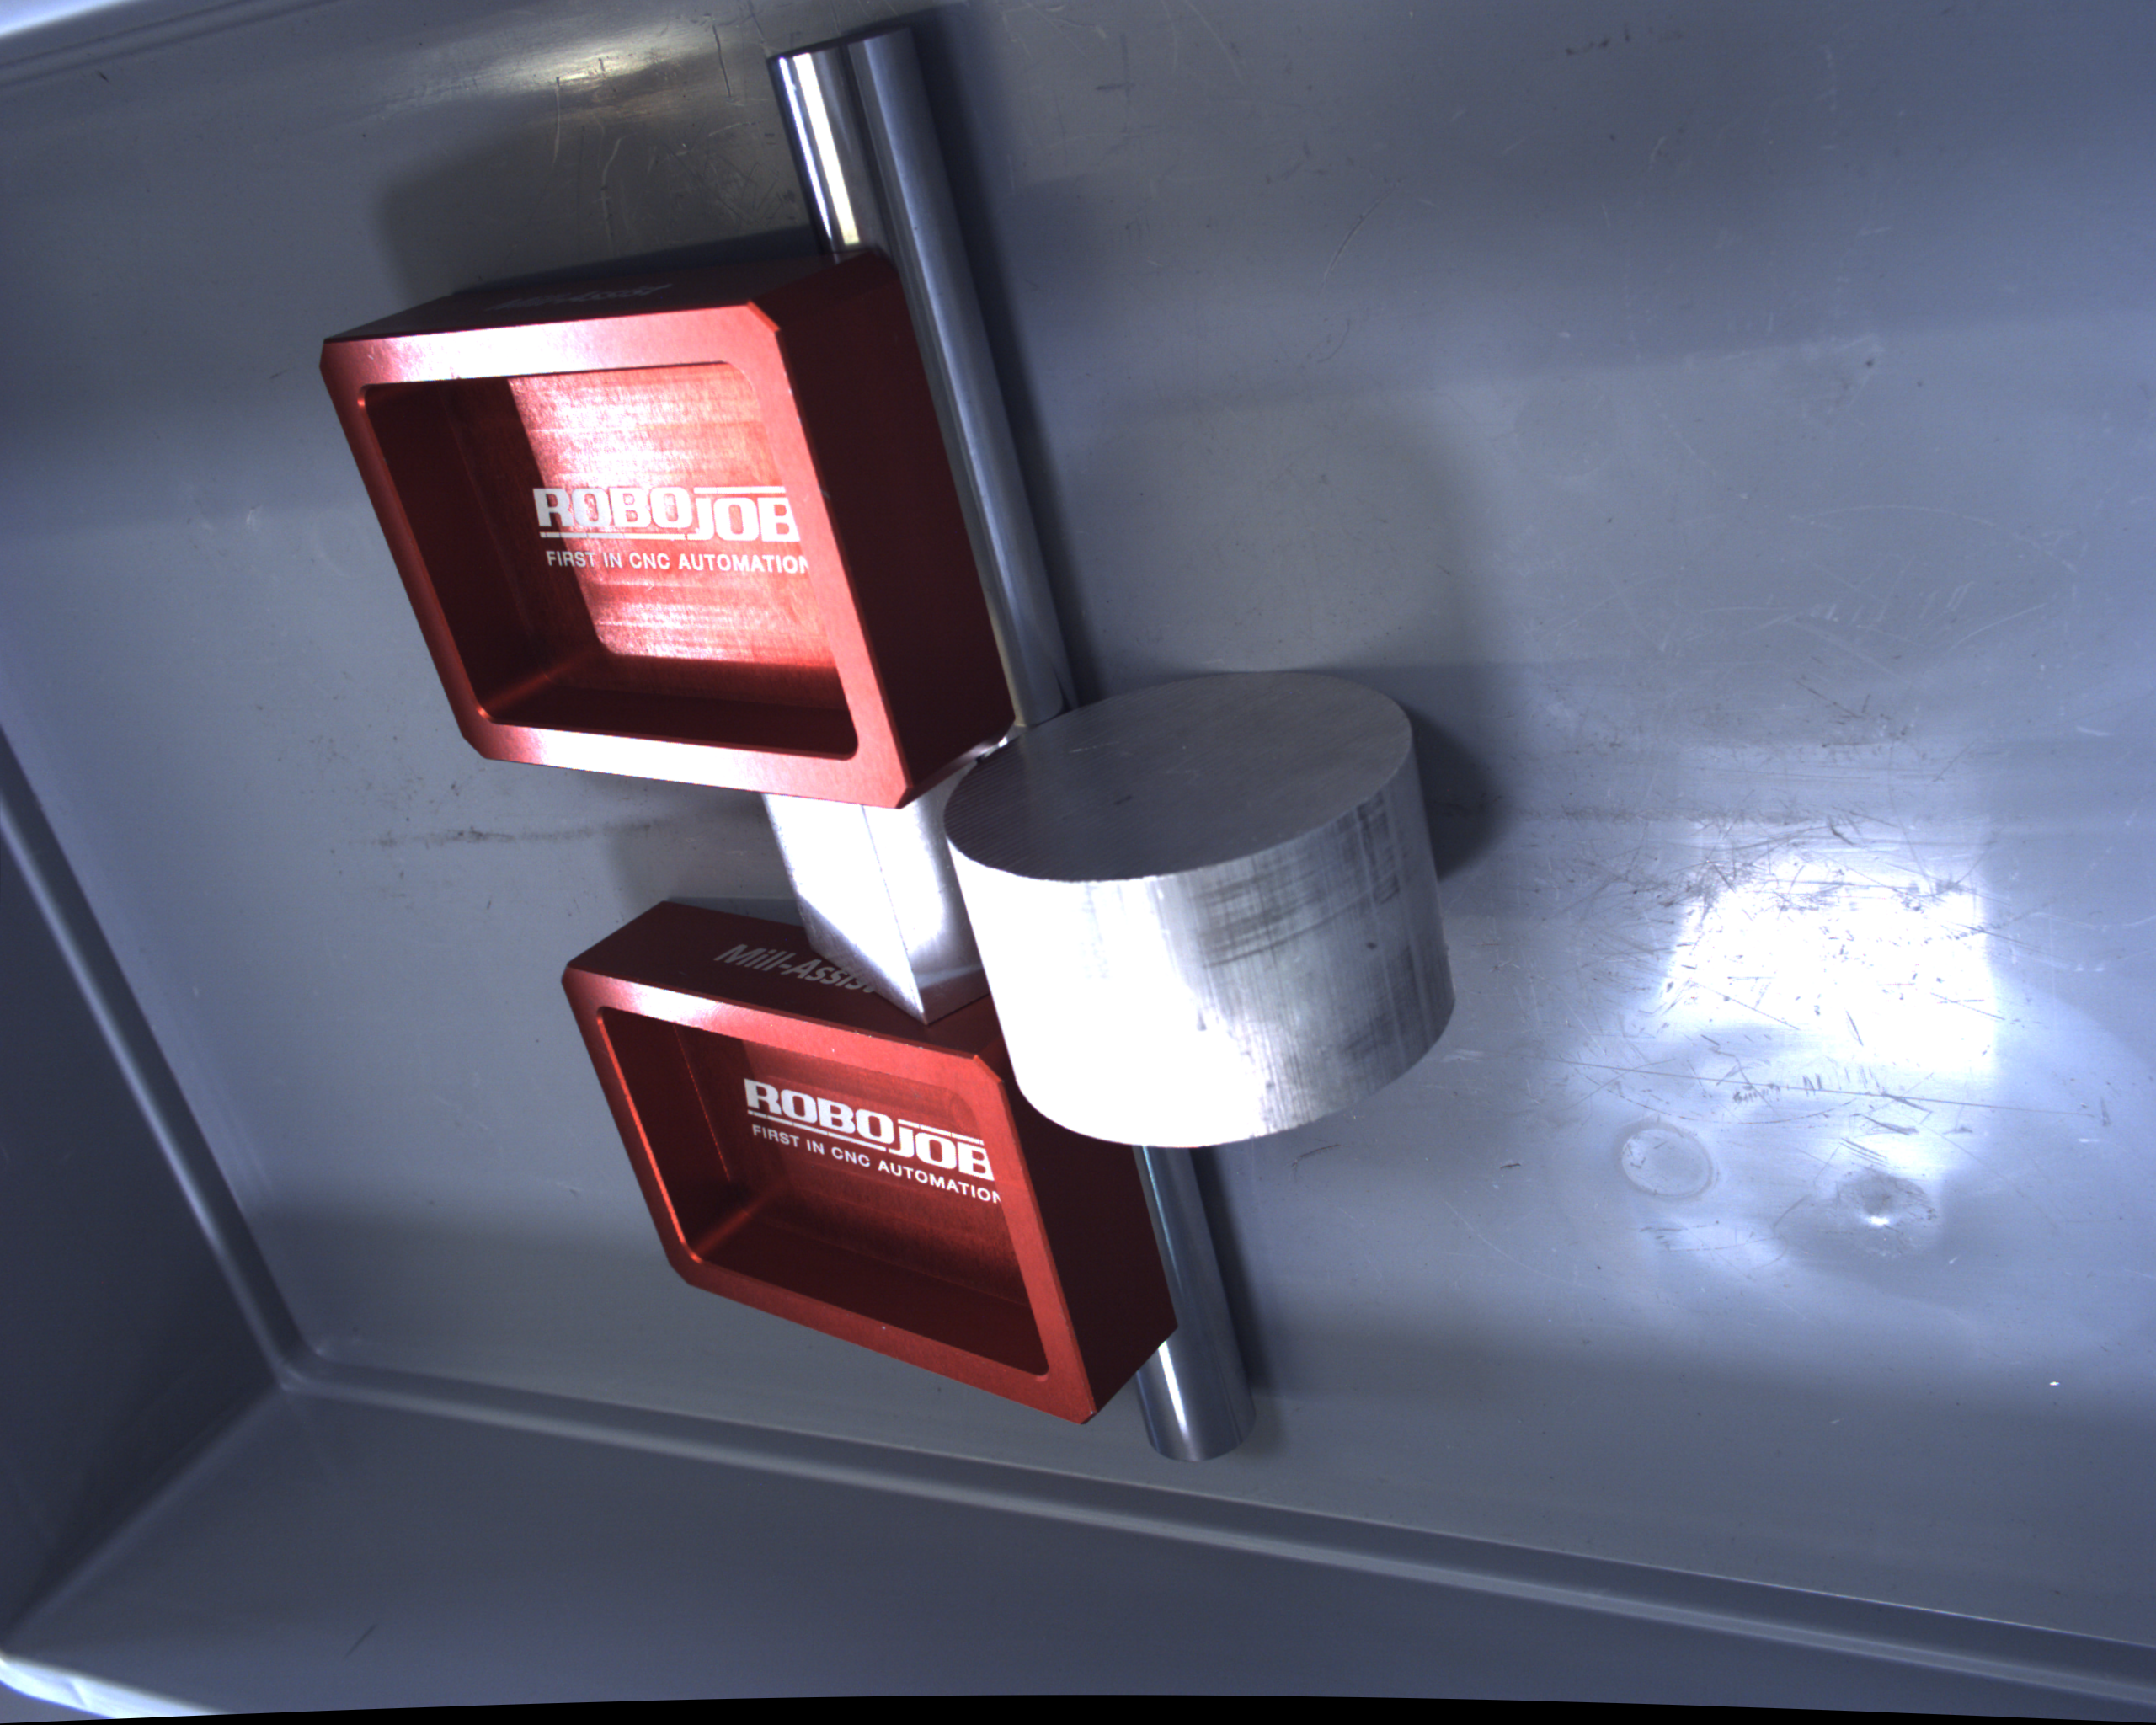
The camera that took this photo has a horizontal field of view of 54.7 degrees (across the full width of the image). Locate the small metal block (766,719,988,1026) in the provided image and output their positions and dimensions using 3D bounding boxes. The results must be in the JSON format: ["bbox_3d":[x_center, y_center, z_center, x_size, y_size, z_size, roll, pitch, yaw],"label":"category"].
[{"bbox_3d":[-0.037,-0.002,0.411,0.050,0.025,0.050,26,136,53],"label":"small metal block"}]

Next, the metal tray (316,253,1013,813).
[{"bbox_3d":[-0.080,-0.061,0.390,0.130,0.030,0.089,8,123,39],"label":"metal tray"}]

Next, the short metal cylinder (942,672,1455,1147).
[{"bbox_3d":[0.022,0.006,0.363,0.080,0.080,0.050,0,119,28],"label":"short metal cylinder"}]

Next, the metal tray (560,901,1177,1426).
[{"bbox_3d":[-0.047,0.061,0.448,0.130,0.030,0.089,8,123,38],"label":"metal tray"}]

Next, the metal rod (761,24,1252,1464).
[{"bbox_3d":[-0.007,-0.004,0.407,0.025,0.025,0.298,0,119,28],"label":"metal rod"}]
